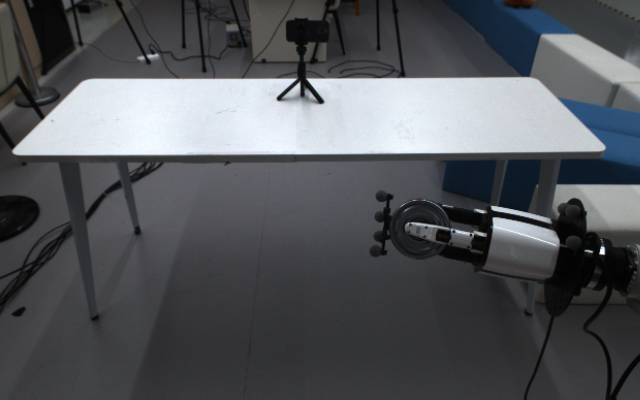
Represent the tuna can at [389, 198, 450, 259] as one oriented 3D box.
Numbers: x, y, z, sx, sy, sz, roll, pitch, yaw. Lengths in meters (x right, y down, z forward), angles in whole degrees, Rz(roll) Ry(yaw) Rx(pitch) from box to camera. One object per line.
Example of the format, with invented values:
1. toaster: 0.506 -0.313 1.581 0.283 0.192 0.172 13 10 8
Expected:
1. tuna can: 0.144 0.038 0.683 0.085 0.085 0.034 10 2 11
